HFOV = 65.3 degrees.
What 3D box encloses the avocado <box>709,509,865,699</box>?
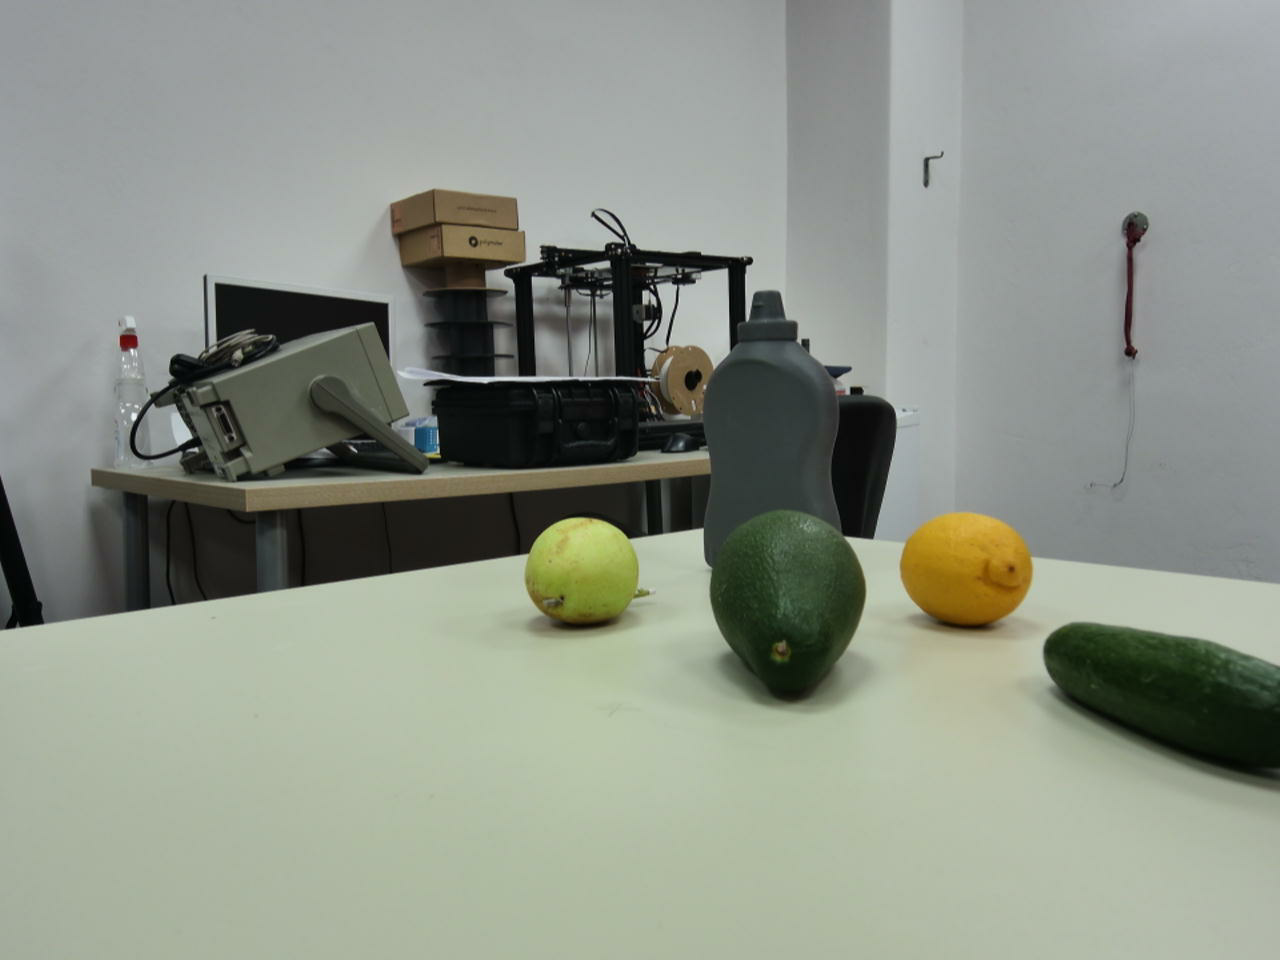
[{"bbox_3d":[0.062,0.051,0.449,0.073,0.071,0.109,1,3,27],"label":"avocado"}]
